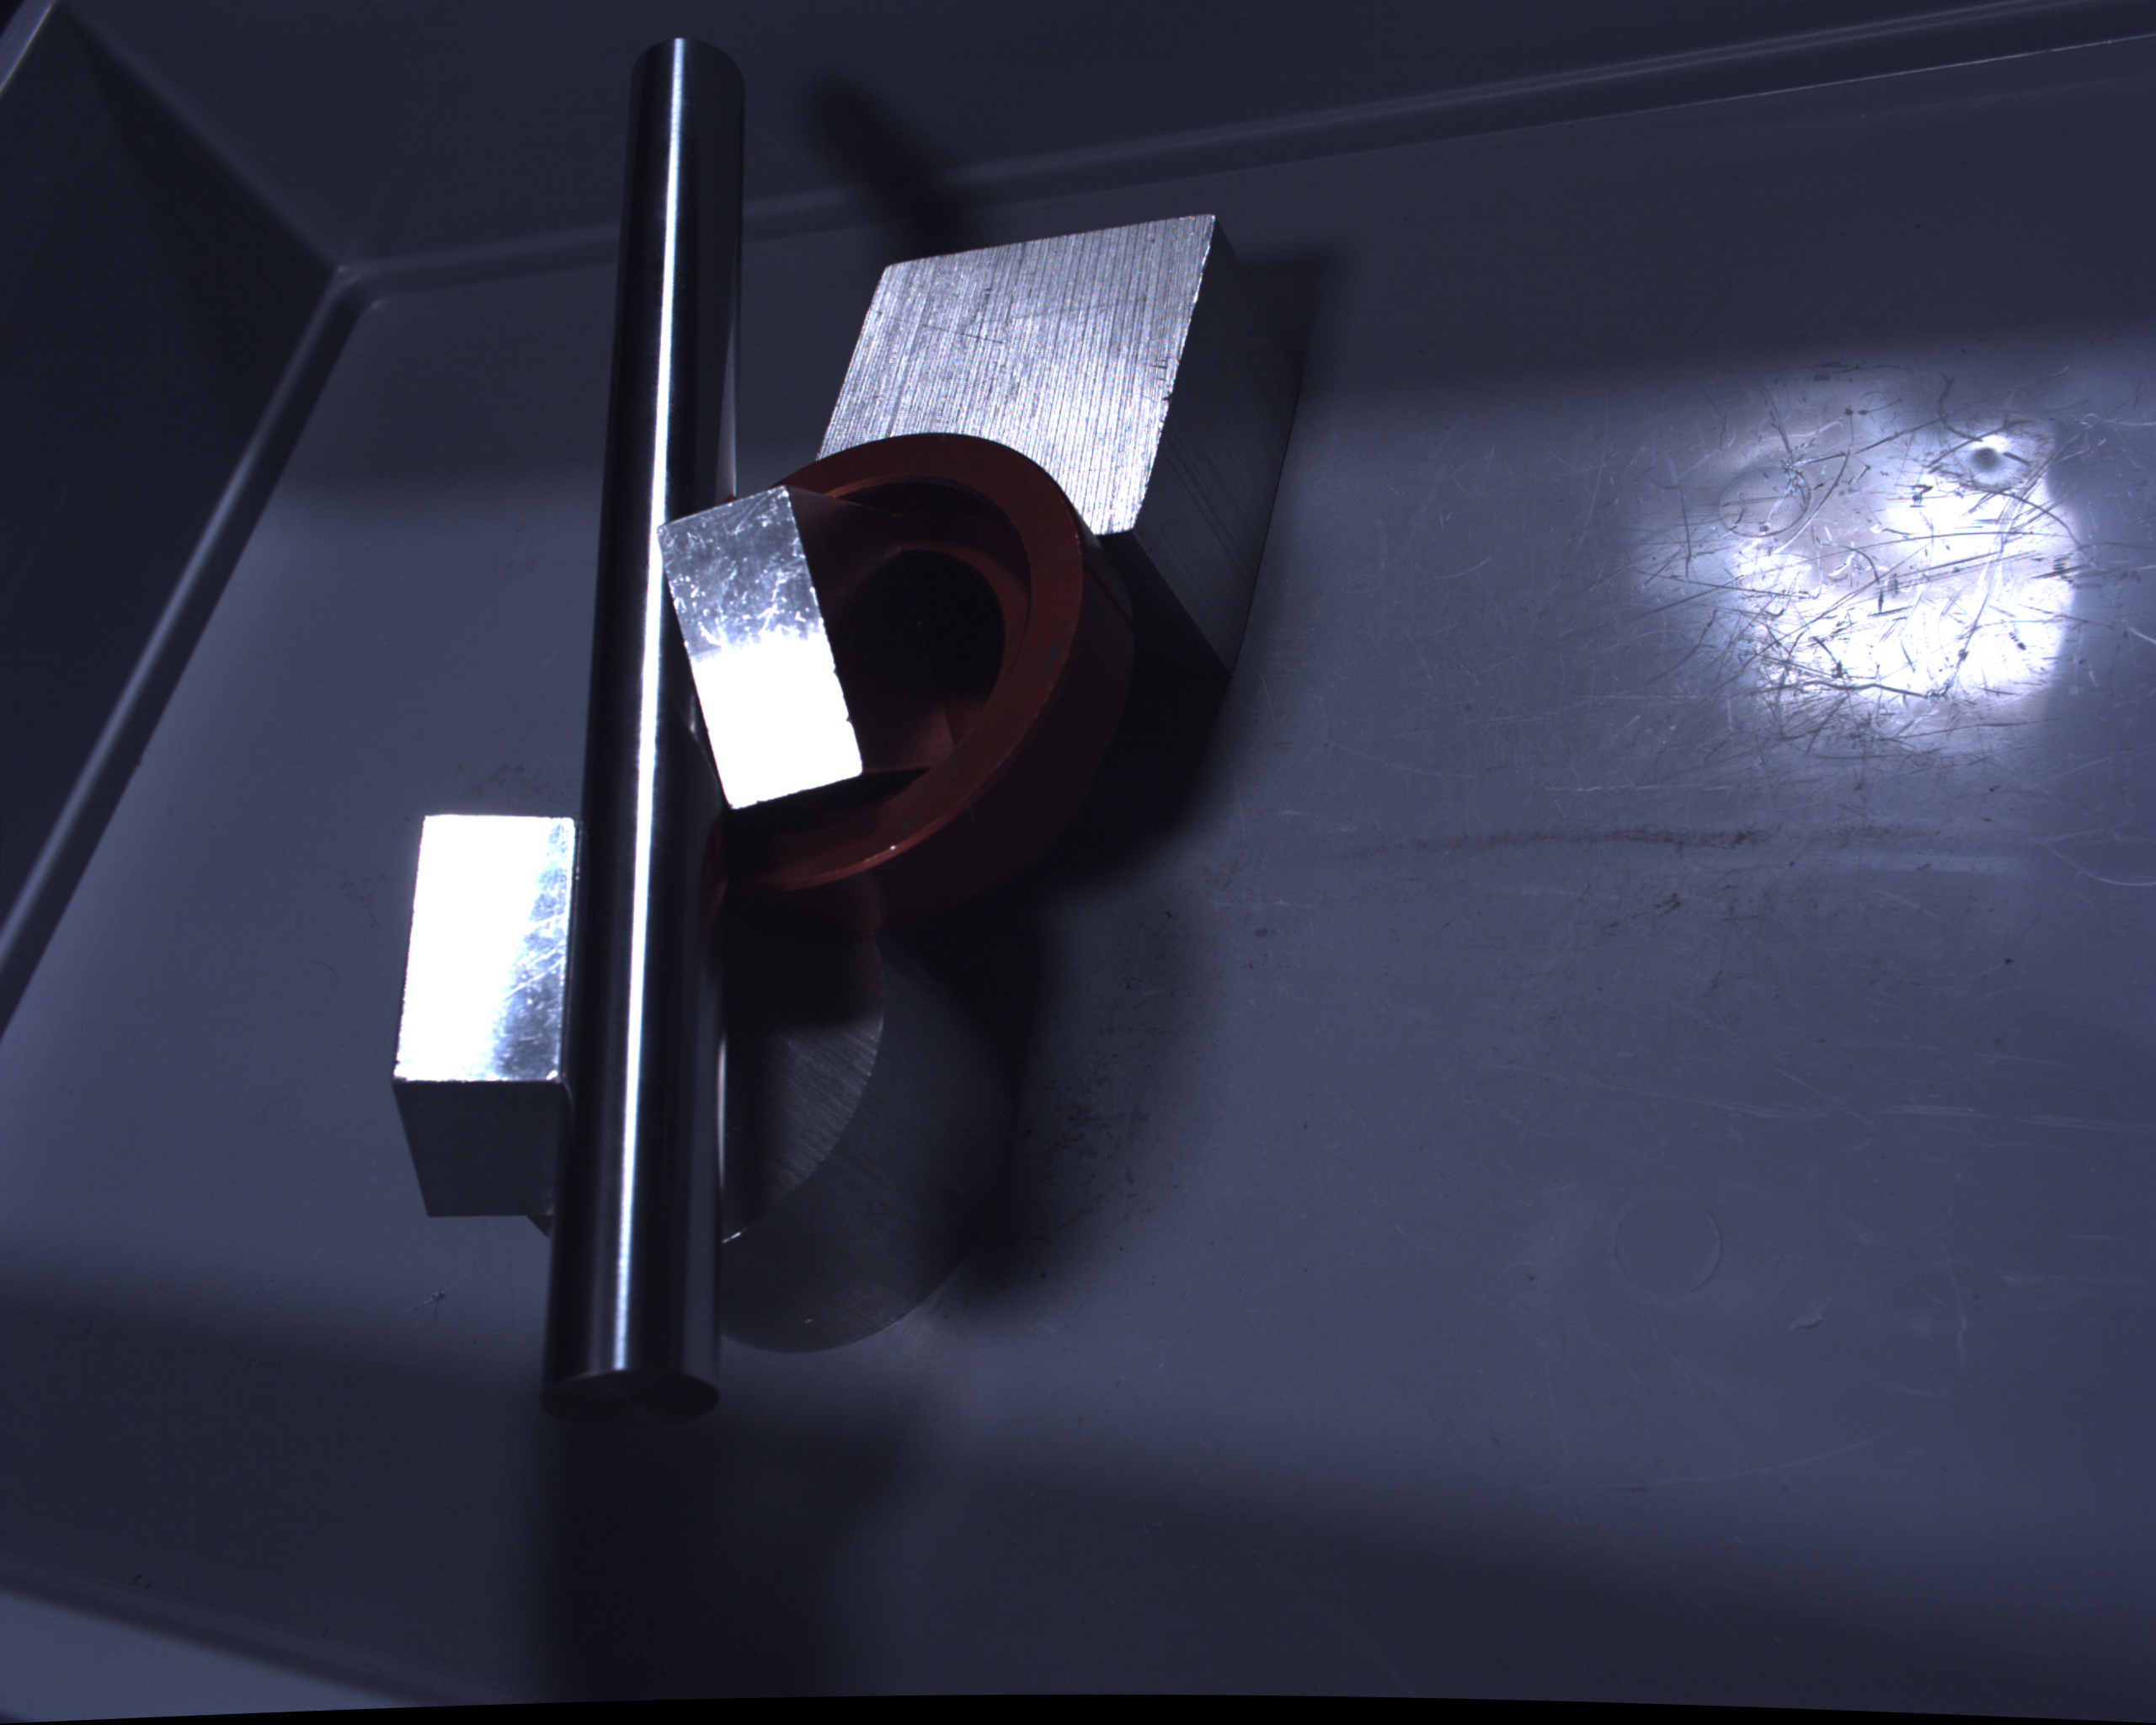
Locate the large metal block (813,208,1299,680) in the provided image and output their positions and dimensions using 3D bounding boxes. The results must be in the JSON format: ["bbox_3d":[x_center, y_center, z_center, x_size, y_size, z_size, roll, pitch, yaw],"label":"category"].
[{"bbox_3d":[-0.006,-0.085,0.440,0.080,0.050,0.080,0,62,28],"label":"large metal block"}]

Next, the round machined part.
[{"bbox_3d":[-0.034,-0.029,0.390,0.098,0.042,0.098,-13,56,20],"label":"round machined part"}]

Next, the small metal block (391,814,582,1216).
[{"bbox_3d":[-0.098,0.027,0.354,0.025,0.050,0.050,2,56,-10],"label":"small metal block"}]

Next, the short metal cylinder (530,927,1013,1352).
[{"bbox_3d":[-0.059,0.045,0.390,0.080,0.050,0.080,-13,56,20],"label":"short metal cylinder"}]

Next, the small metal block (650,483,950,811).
[{"bbox_3d":[-0.047,-0.038,0.373,0.025,0.050,0.050,-15,90,16],"label":"small metal block"}]

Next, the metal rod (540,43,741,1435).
[{"bbox_3d":[-0.076,-0.047,0.381,0.025,0.025,0.299,-17,55,18],"label":"metal rod"}]
